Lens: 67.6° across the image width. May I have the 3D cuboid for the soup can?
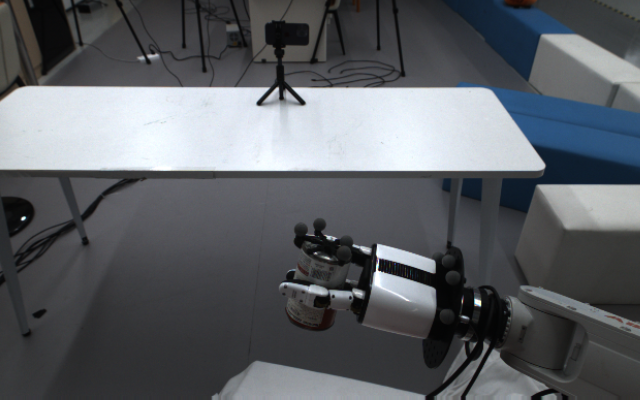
[{"bbox_3d":[0.000,0.109,0.630,0.067,0.101,0.067,13,18,-4],"label":"soup can"}]
